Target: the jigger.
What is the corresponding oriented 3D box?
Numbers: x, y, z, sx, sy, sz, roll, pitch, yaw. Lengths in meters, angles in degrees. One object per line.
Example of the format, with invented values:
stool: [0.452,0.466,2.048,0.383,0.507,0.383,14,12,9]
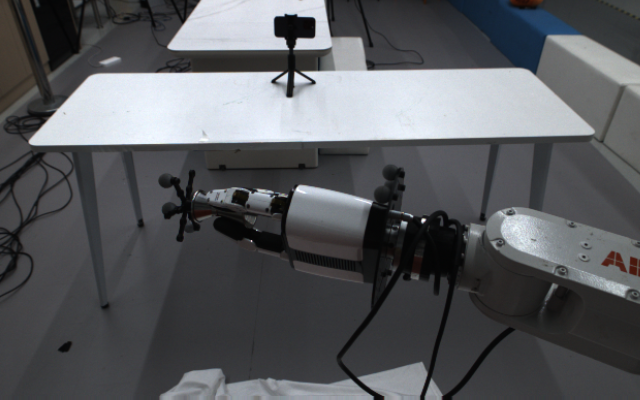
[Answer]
jigger: [-0.105,0.006,0.575,0.071,0.043,0.043,3,34,14]
